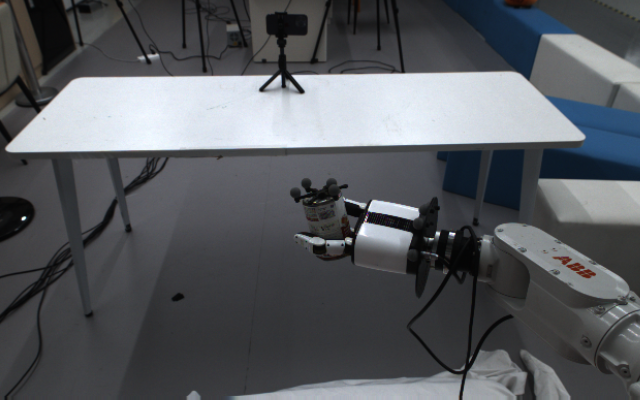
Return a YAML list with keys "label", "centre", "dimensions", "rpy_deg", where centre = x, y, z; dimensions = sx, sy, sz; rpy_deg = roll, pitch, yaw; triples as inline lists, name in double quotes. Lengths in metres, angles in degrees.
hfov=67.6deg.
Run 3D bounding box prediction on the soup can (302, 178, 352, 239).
- label: "soup can"
  centre: [0.015, 0.039, 0.789]
  dimensions: [0.067, 0.101, 0.067]
  rpy_deg: [-13, 20, 5]
